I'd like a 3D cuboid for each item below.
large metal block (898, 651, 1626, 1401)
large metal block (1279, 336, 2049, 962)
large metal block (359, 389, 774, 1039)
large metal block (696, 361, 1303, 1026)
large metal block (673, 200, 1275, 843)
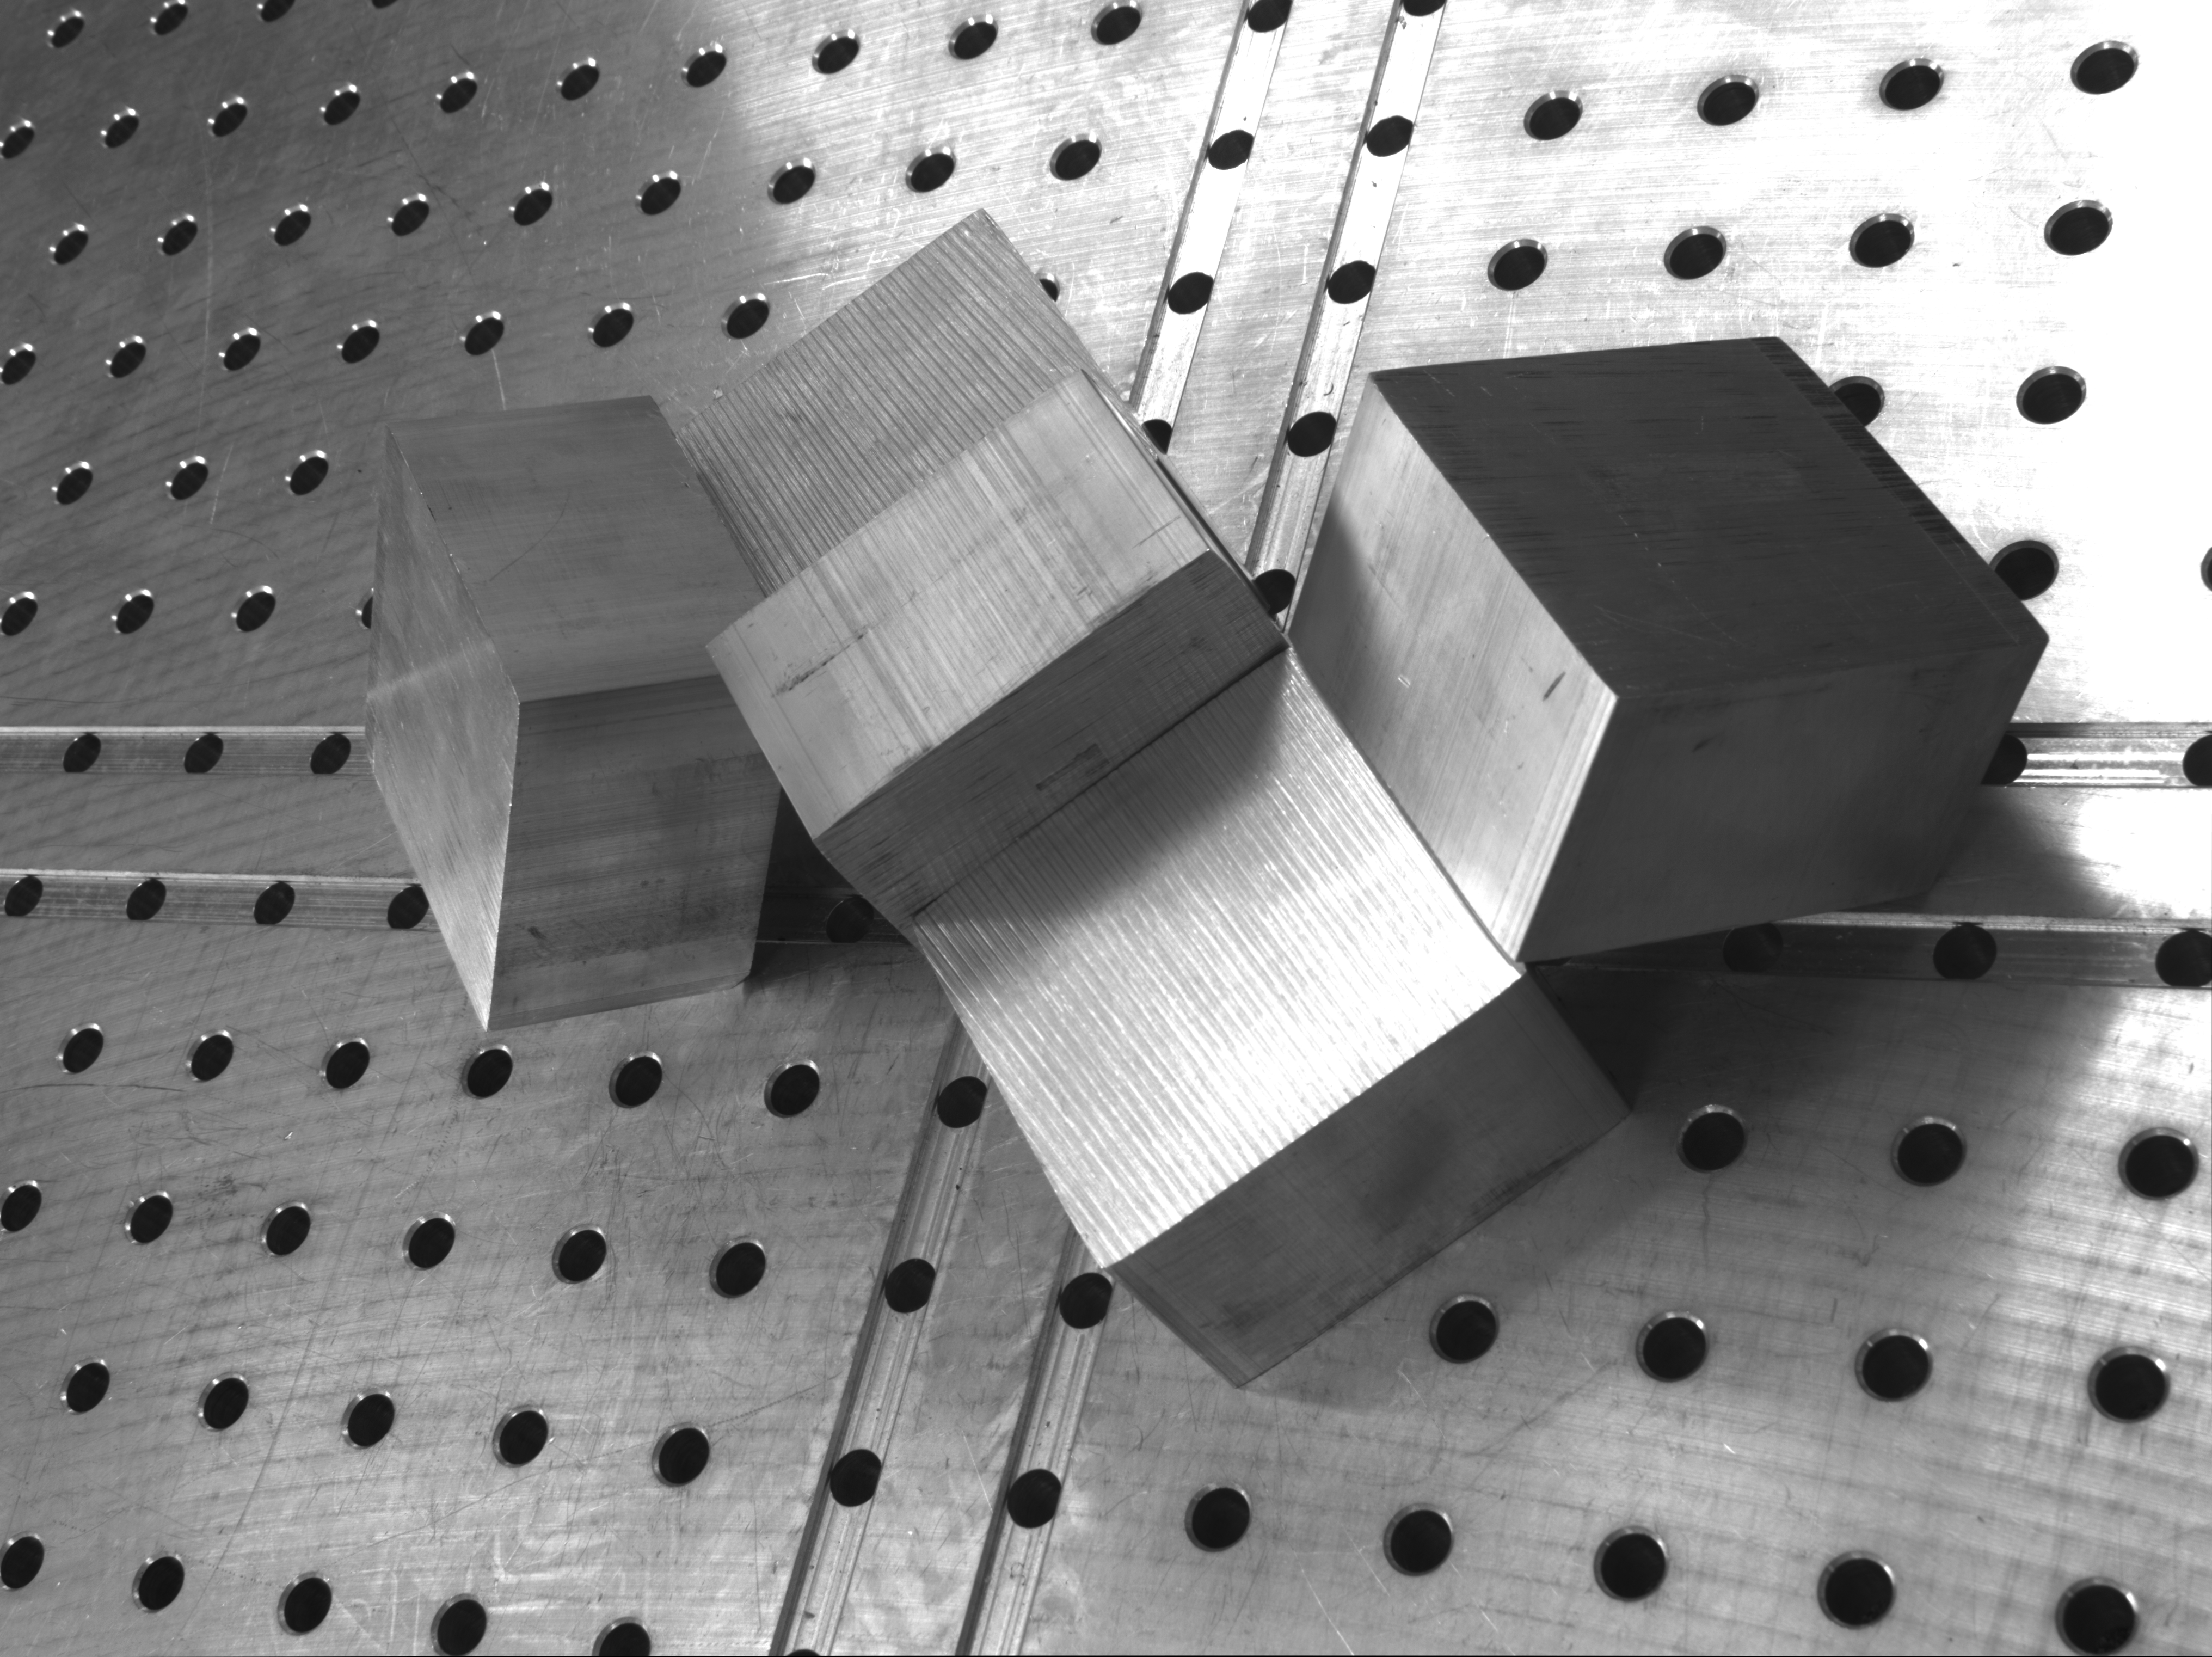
[{"bbox_3d":[0.024,0.032,0.599,0.080,0.050,0.080,-35,49,5],"label":"large metal block"},{"bbox_3d":[0.085,-0.031,0.578,0.080,0.050,0.080,-9,46,-26],"label":"large metal block"},{"bbox_3d":[-0.099,-0.022,0.671,0.050,0.080,0.080,-10,46,-25],"label":"large metal block"},{"bbox_3d":[-0.009,-0.019,0.629,0.080,0.080,0.050,-36,52,4],"label":"large metal block"},{"bbox_3d":[-0.029,-0.055,0.682,0.080,0.050,0.080,-37,51,5],"label":"large metal block"}]
